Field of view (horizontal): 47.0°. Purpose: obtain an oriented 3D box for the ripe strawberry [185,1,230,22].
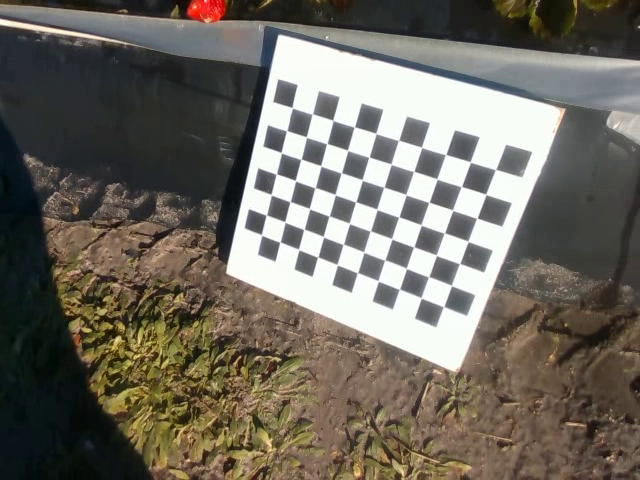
[{"bbox_3d":[-0.108,-0.207,0.658,0.036,0.038,0.045,20,33,26],"label":"ripe strawberry"}]
